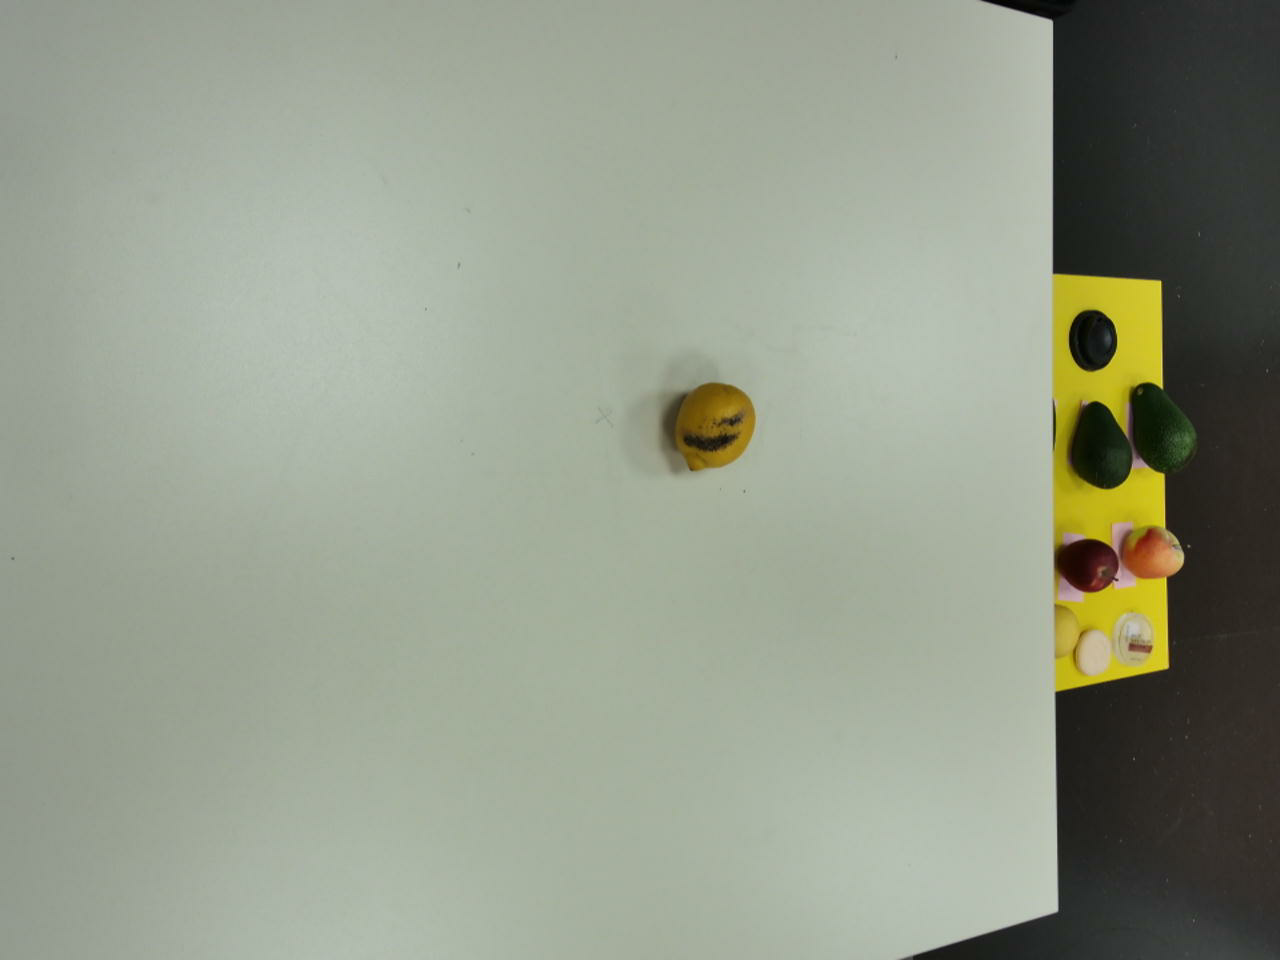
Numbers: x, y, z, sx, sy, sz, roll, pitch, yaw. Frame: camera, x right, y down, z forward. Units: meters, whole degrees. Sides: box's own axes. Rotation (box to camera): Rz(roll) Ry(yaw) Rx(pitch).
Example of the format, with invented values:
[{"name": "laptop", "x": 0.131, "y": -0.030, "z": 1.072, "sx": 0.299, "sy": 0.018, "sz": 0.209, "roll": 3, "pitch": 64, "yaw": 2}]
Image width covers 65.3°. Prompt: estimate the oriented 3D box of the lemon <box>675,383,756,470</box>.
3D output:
[{"name": "lemon", "x": 0.054, "y": -0.040, "z": 0.719, "sx": 0.058, "sy": 0.056, "sz": 0.061, "roll": -10, "pitch": 95, "yaw": -28}]
